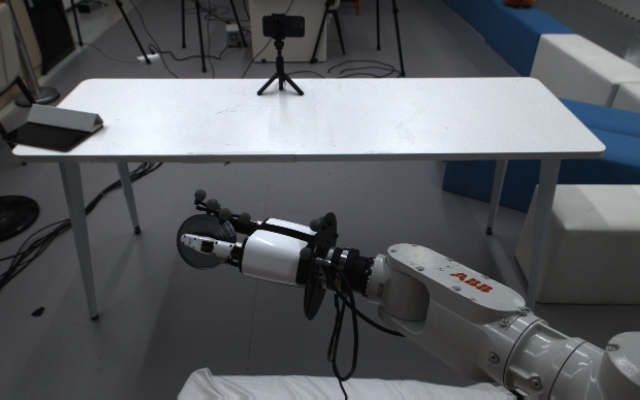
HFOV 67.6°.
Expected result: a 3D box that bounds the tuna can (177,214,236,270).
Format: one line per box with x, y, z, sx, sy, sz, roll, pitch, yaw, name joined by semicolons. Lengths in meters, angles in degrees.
-0.172;0.064;0.743;0.085;0.085;0.034;10;3;11;tuna can
